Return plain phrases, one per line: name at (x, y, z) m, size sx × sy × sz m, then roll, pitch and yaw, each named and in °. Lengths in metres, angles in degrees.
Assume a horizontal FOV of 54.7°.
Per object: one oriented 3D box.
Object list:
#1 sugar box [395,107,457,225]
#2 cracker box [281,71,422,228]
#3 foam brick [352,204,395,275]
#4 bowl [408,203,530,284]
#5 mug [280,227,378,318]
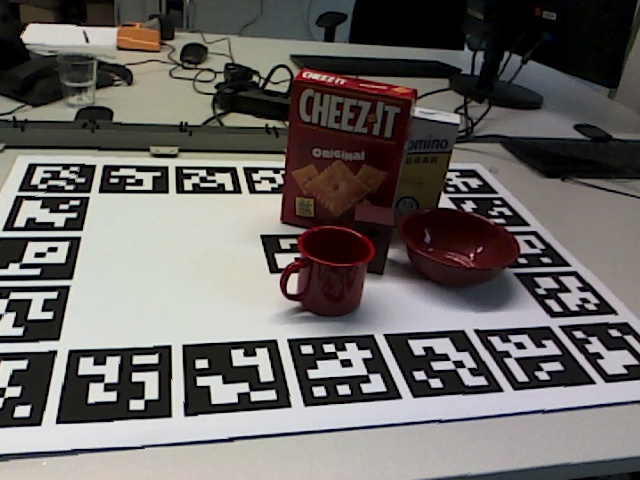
sugar box at (0.142, -0.107, 0.924) m, size 0.093 × 0.176 × 0.045 m, roll 10°, pitch 30°, yaw 5°
cracker box at (0.039, -0.114, 0.879) m, size 0.165 × 0.213 × 0.072 m, roll 15°, pitch 29°, yaw 12°
foam brick at (0.068, -0.001, 0.834) m, size 0.053 × 0.078 × 0.051 m, roll 7°, pitch 29°, yaw 0°
bowl at (0.194, 0.011, 0.834) m, size 0.161 × 0.055 × 0.162 m, roll 5°, pitch 31°, yaw -4°
mug at (0.009, 0.040, 0.733) m, size 0.117 × 0.081 × 0.094 m, roll -7°, pitch 25°, yaw -20°
